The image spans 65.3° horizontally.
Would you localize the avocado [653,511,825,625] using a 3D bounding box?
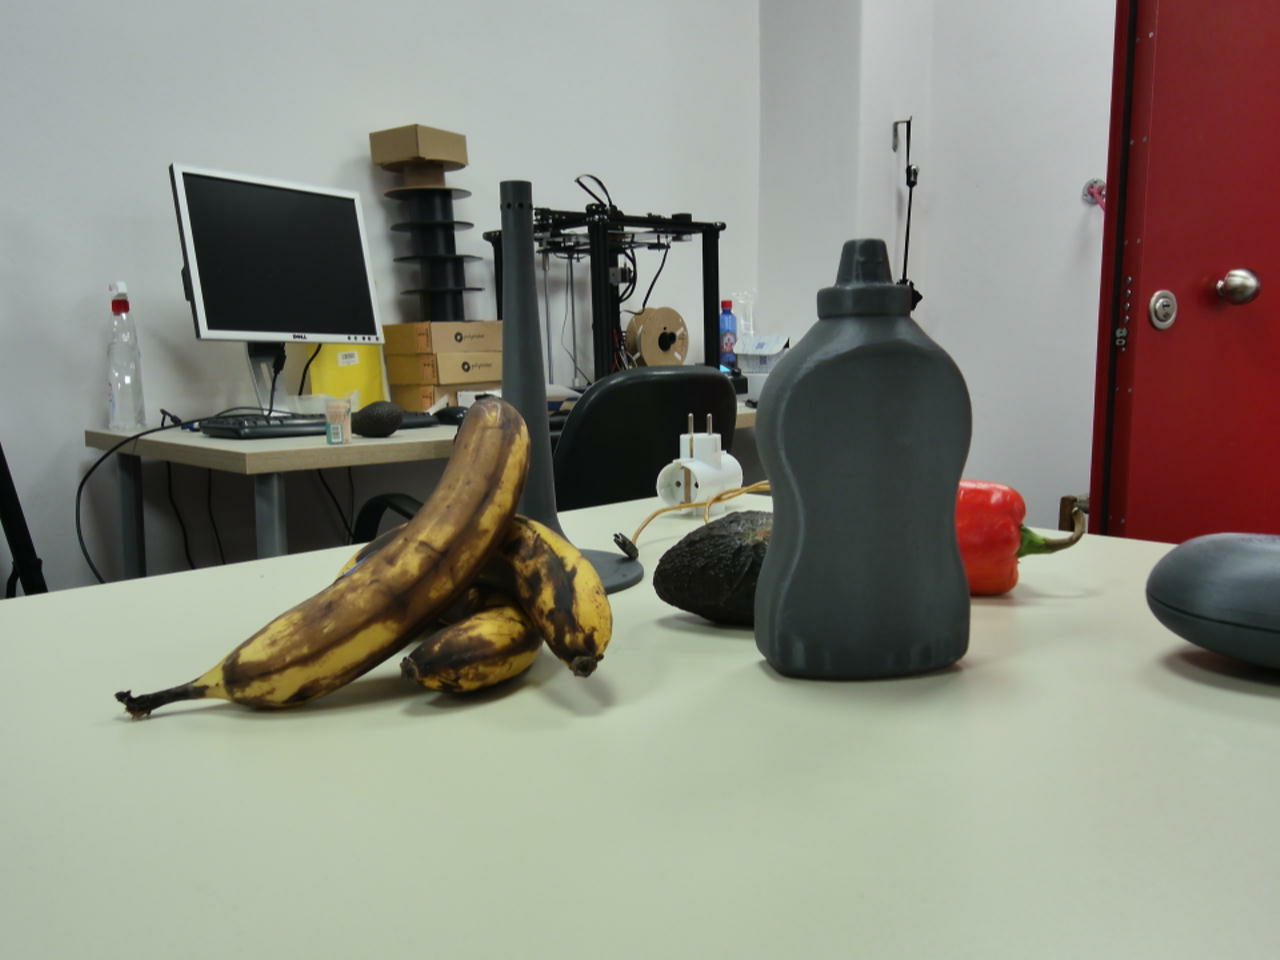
[{"bbox_3d":[0.054,0.048,0.548,0.092,0.062,0.062,3,6,24],"label":"avocado"}]
